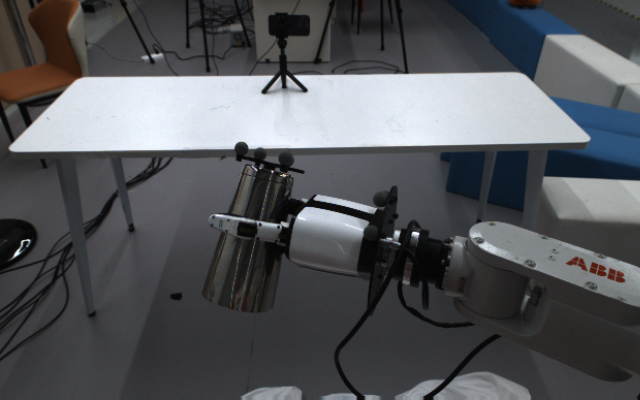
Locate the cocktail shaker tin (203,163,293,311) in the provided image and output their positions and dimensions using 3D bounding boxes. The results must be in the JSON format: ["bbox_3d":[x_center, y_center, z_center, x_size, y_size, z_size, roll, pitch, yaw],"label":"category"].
[{"bbox_3d":[-0.084,0.046,0.613,0.093,0.170,0.093,14,2,0],"label":"cocktail shaker tin"}]
